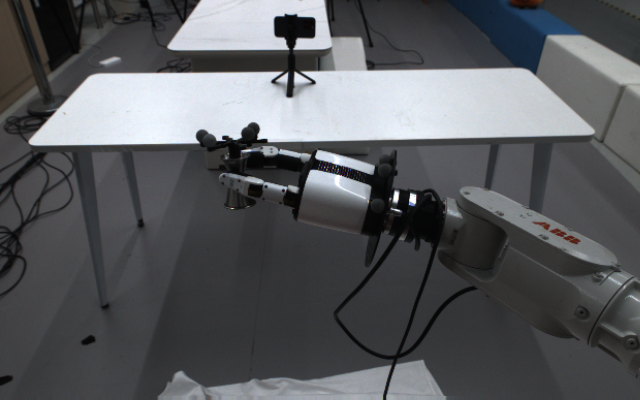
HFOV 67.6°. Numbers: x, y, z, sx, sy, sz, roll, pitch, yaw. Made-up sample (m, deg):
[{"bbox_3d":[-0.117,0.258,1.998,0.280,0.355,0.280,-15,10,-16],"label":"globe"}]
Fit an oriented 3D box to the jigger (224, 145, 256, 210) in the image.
[{"bbox_3d":[-0.109,-0.026,0.644,0.043,0.071,0.043,-2,19,1],"label":"jigger"}]
